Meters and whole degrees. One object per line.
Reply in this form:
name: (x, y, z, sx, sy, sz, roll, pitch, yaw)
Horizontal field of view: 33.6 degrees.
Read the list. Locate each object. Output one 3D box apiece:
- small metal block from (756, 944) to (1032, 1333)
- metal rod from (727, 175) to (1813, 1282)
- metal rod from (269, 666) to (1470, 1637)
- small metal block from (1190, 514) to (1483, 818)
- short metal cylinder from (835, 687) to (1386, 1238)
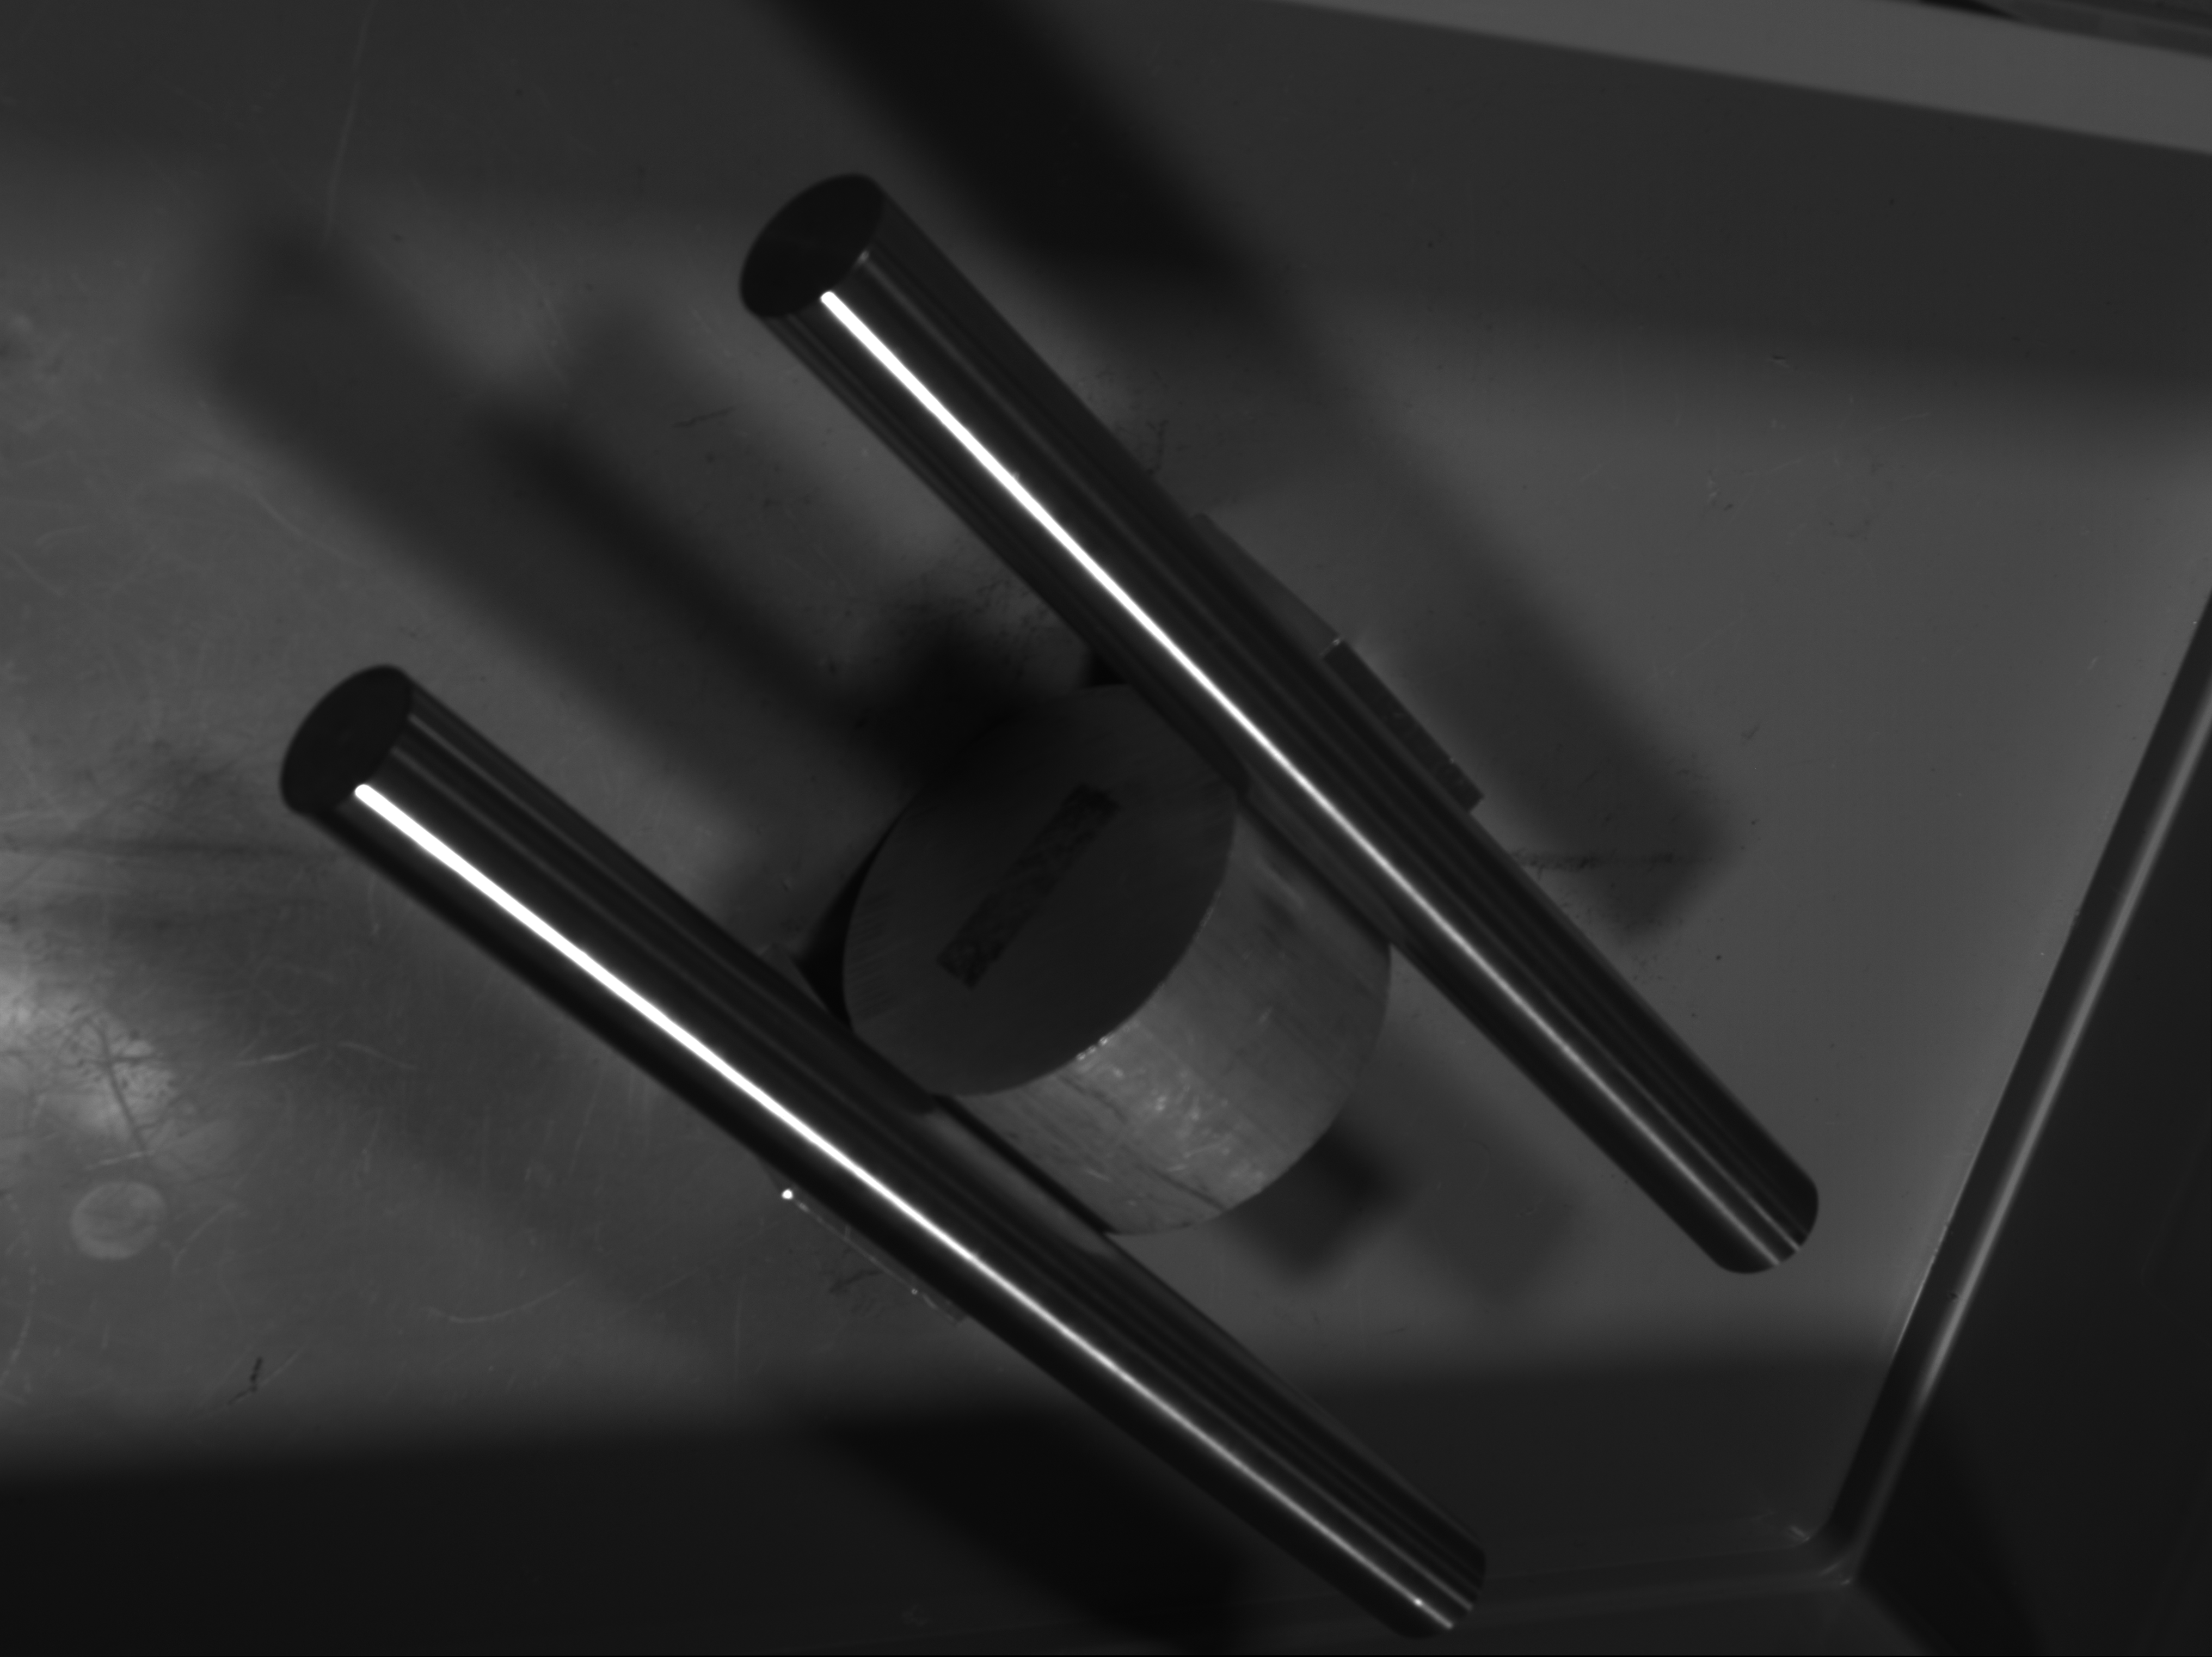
small metal block: (-0.043, 0.054, 0.641, 0.025, 0.050, 0.050, -45, 130, 1)
metal rod: (0.041, -0.003, 0.606, 0.025, 0.025, 0.301, -45, 130, 2)
metal rod: (-0.024, 0.066, 0.612, 0.025, 0.025, 0.301, -45, 130, 2)
small metal block: (0.032, -0.021, 0.638, 0.025, 0.050, 0.050, -45, 130, 1)
short metal cylinder: (0.001, 0.023, 0.628, 0.080, 0.080, 0.050, -45, 130, 2)
